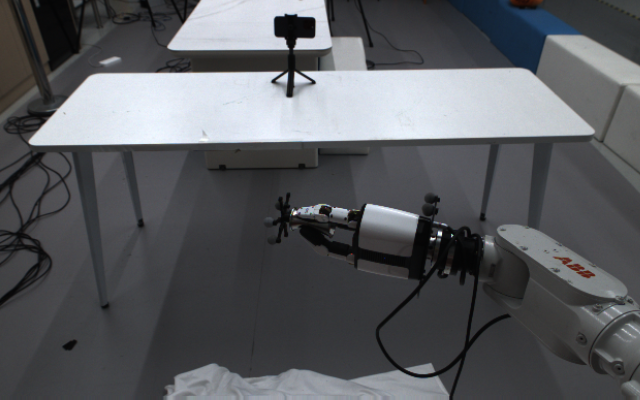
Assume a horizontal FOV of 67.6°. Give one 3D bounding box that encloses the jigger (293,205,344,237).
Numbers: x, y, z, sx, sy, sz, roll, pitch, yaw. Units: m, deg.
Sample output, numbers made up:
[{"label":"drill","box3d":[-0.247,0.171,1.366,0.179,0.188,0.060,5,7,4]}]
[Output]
[{"label":"jigger","box3d":[-0.005,0.031,0.783,0.071,0.043,0.043,8,35,14]}]
